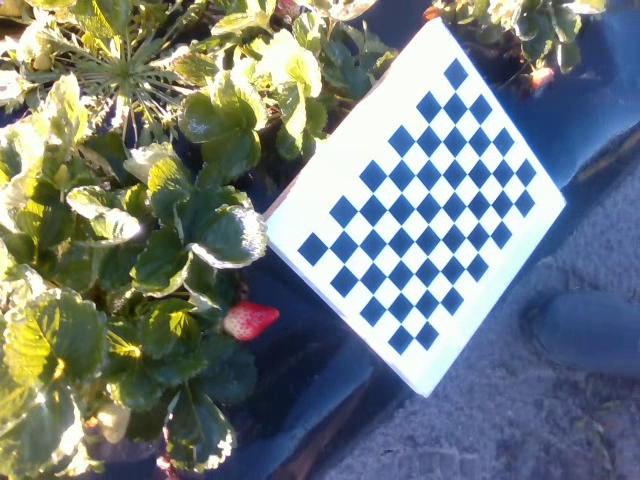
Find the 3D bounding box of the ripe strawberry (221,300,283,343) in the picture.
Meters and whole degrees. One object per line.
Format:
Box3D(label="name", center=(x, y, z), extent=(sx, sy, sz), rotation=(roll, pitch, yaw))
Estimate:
Box3D(label="ripe strawberry", center=(-0.066, 0.085, 0.634), extent=(0.065, 0.040, 0.040), rotation=(-8, 6, -26))
